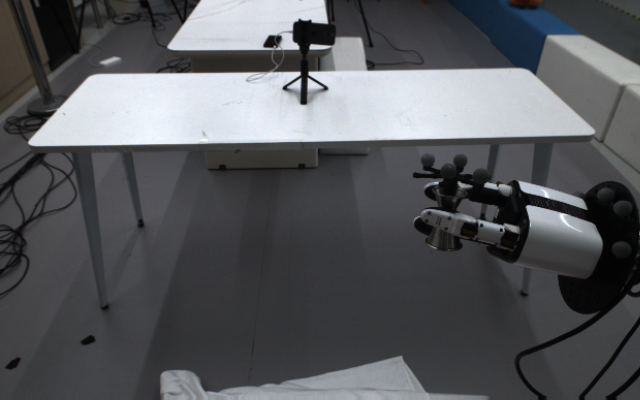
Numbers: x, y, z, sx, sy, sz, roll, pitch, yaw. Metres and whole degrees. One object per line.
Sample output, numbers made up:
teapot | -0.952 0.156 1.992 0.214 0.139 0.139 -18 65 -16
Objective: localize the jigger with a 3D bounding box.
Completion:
jigger | 0.149 0.019 0.578 0.043 0.071 0.043 1 20 0
